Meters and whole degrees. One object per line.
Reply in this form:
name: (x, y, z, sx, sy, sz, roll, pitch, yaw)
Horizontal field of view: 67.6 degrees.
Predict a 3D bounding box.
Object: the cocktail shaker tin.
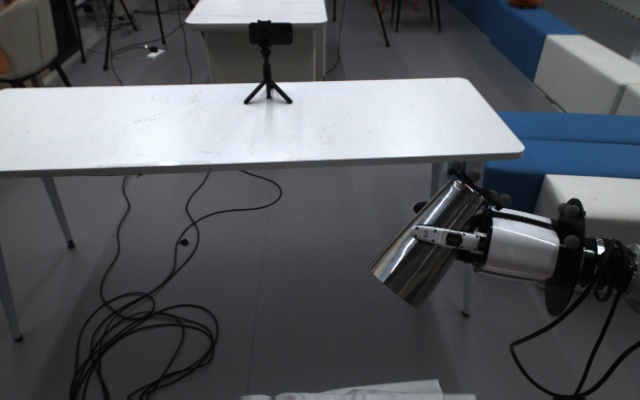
cocktail shaker tin: (0.157, 0.052, 0.675, 0.170, 0.093, 0.093, -50, 46, 4)
